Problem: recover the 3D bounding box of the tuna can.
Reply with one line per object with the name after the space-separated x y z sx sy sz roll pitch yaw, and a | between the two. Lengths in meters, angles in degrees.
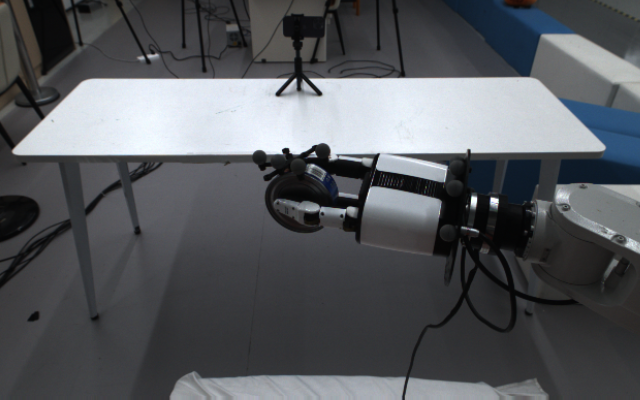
-0.019 0.001 0.588 0.085 0.085 0.034 10 33 11 | tuna can
